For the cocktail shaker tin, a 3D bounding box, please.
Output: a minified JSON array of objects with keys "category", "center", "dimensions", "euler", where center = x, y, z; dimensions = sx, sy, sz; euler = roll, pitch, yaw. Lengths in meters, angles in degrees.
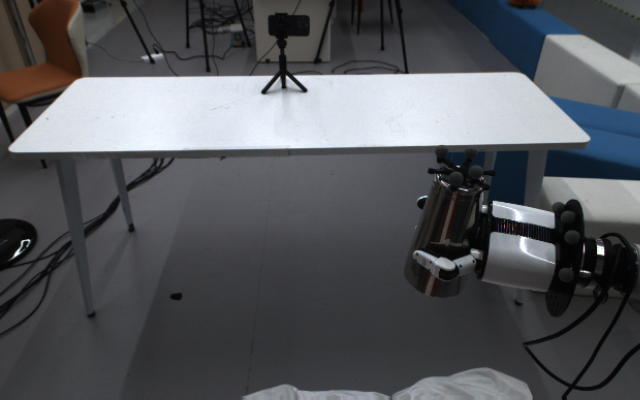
[{"category":"cocktail shaker tin","center":[0.178,0.040,0.671],"dimensions":[0.093,0.170,0.093],"euler":[3,34,-2]}]
